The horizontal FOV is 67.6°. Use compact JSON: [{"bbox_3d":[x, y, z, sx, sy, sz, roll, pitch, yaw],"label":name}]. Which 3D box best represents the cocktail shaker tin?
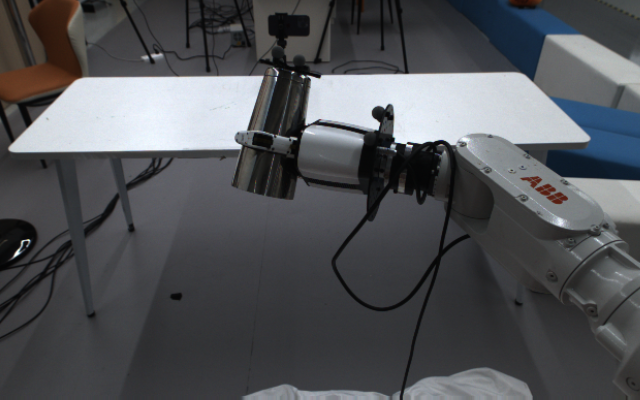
[{"bbox_3d":[-0.063,-0.094,0.685,0.093,0.170,0.093,13,4,-1],"label":"cocktail shaker tin"}]
